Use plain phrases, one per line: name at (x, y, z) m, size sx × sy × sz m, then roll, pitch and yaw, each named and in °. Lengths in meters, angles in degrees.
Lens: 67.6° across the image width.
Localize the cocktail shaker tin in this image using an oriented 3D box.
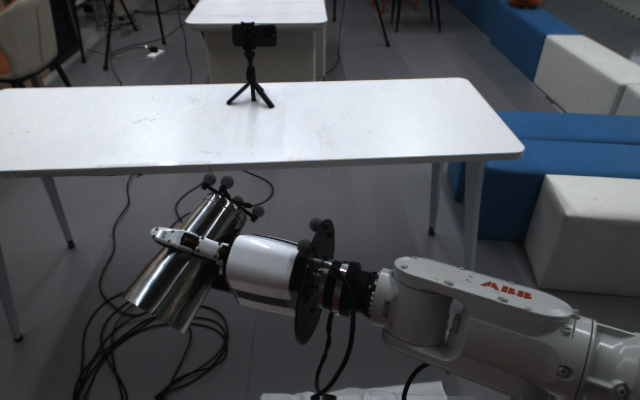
cocktail shaker tin at (-0.168, 0.074, 0.635) m, size 0.093 × 0.093 × 0.170 m, roll 20°, pitch 66°, yaw 24°
